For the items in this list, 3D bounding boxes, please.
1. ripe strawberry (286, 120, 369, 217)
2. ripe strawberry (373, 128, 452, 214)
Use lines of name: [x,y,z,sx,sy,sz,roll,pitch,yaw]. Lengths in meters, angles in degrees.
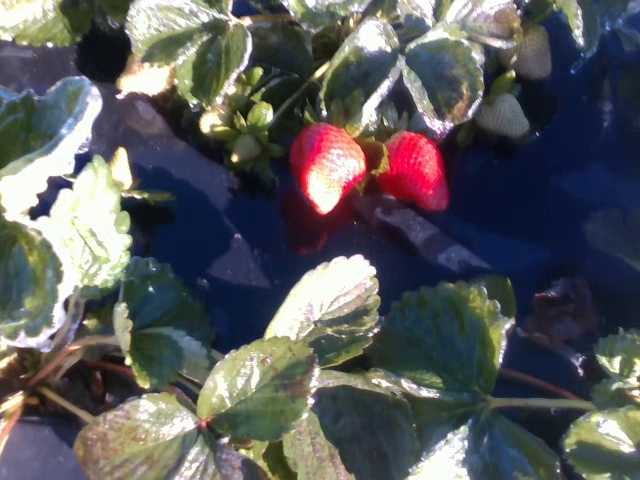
ripe strawberry: [0.007,-0.041,0.357,0.052,0.070,0.040,22,-26,-13]
ripe strawberry: [0.061,-0.044,0.360,0.043,0.059,0.040,-27,-13,-18]
